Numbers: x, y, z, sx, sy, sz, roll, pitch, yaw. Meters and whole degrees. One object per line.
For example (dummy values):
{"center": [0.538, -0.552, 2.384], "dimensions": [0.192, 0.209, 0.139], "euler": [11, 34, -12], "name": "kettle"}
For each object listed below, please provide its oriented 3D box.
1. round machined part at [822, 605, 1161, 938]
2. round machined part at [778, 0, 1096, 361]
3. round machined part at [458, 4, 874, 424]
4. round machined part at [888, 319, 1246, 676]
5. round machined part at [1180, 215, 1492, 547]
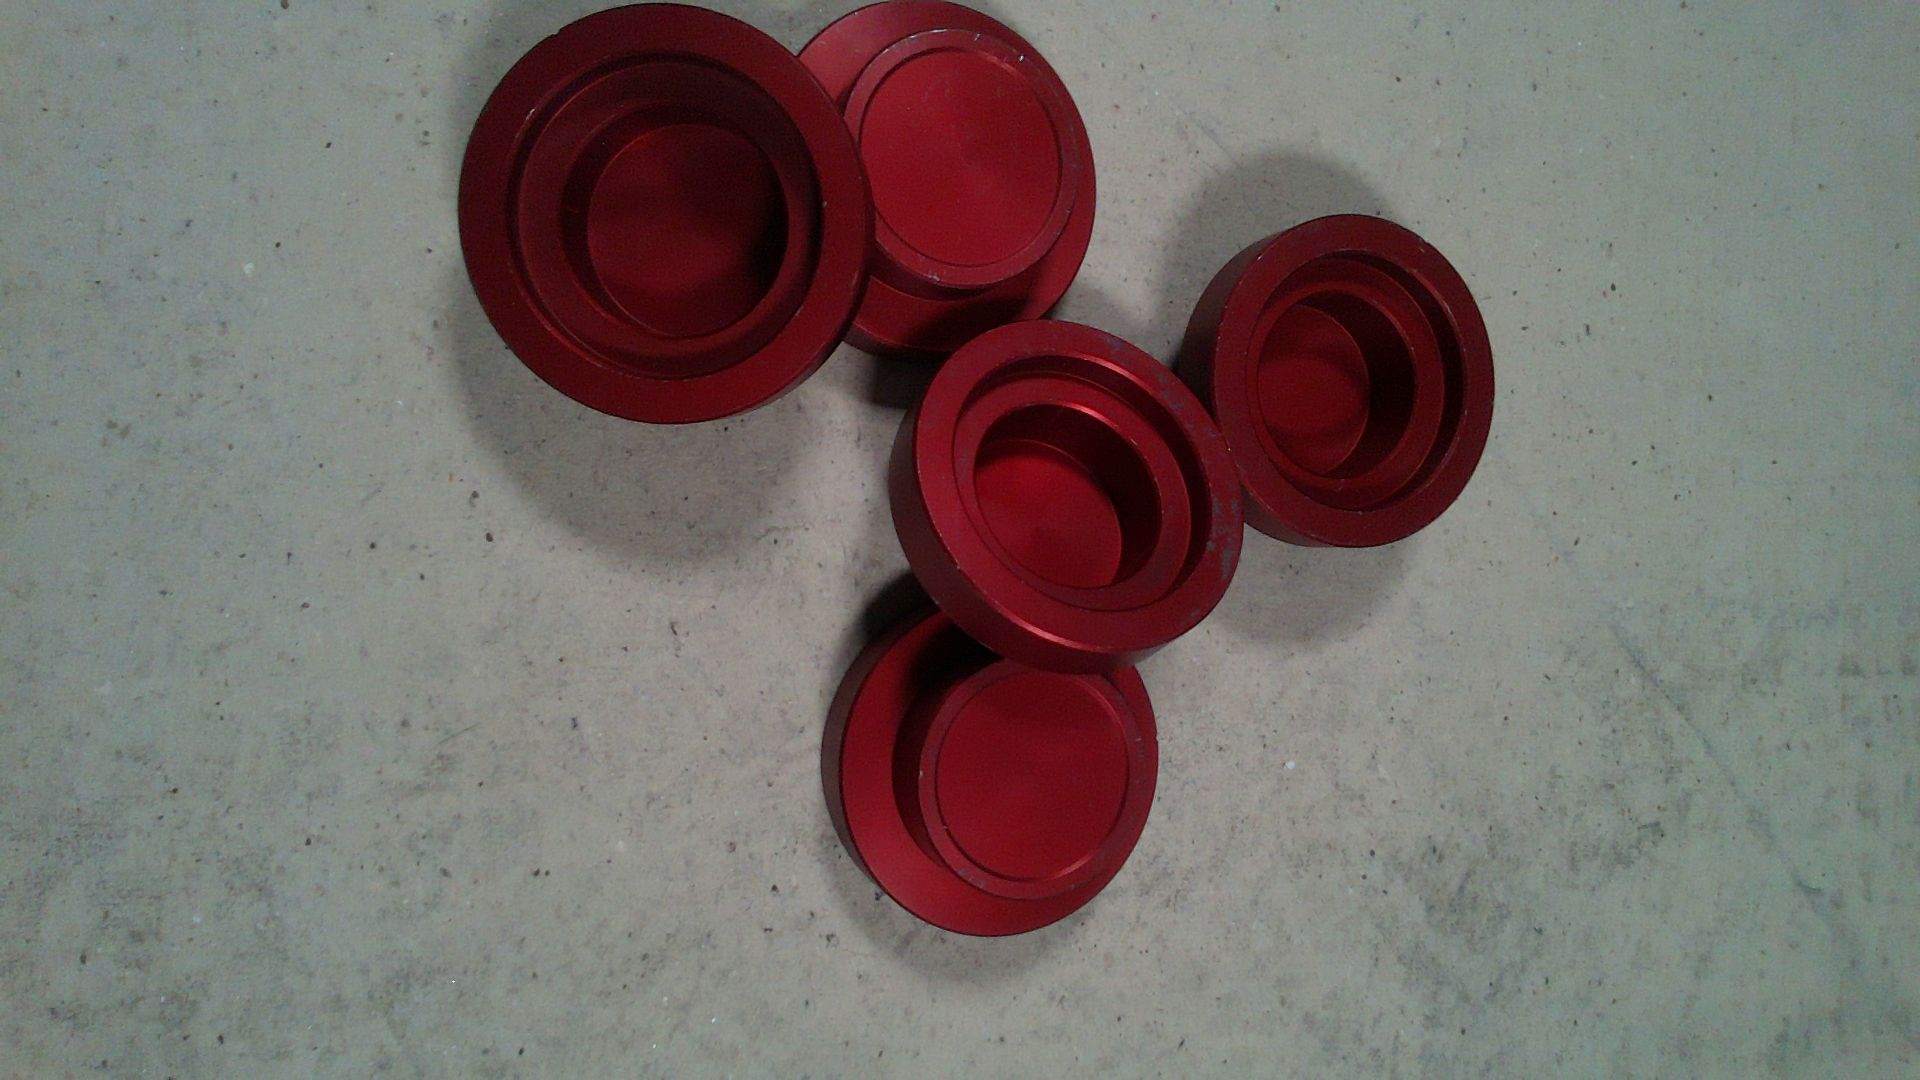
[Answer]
{"center": [0.014, 0.064, 0.389], "dimensions": [0.098, 0.042, 0.098], "euler": [0, 90, -20], "name": "round machined part"}
{"center": [-0.006, -0.101, 0.382], "dimensions": [0.098, 0.042, 0.098], "euler": [0, 90, -20], "name": "round machined part"}
{"center": [-0.070, -0.079, 0.347], "dimensions": [0.098, 0.042, 0.098], "euler": [0, 97, 1], "name": "round machined part"}
{"center": [0.026, -0.009, 0.383], "dimensions": [0.098, 0.042, 0.098], "euler": [9, 64, -19], "name": "round machined part"}
{"center": [0.111, -0.047, 0.425], "dimensions": [0.098, 0.042, 0.098], "euler": [0, 90, -20], "name": "round machined part"}
